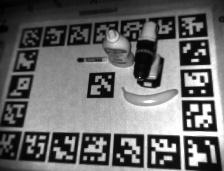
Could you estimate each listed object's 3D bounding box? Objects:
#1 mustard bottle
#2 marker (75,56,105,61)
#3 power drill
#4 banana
[{"bbox_3d":[0.012,-0.128,0.755,0.095,0.193,0.058,10,75,15],"label":"mustard bottle"},{"bbox_3d":[-0.090,-0.108,0.864,0.120,0.020,0.019,1,74,13],"label":"marker"},{"bbox_3d":[0.108,-0.073,0.699,0.057,0.188,0.184,13,73,15],"label":"power drill"},{"bbox_3d":[0.115,0.039,0.765,0.196,0.039,0.074,6,76,16],"label":"banana"}]
